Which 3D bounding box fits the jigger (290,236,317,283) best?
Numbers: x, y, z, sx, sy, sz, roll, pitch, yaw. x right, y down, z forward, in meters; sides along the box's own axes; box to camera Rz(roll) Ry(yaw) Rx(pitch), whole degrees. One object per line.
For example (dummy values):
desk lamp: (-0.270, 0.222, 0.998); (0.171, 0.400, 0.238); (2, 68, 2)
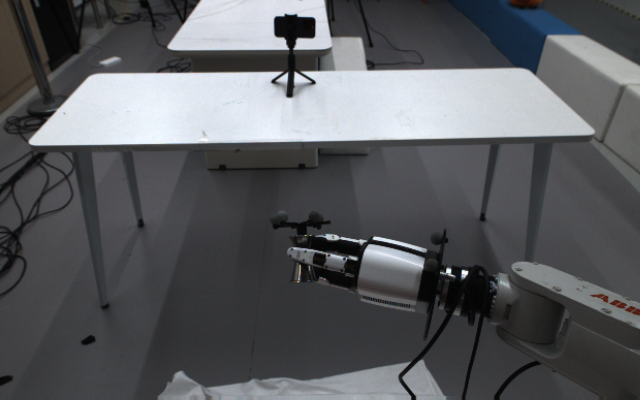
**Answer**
jigger: (-0.026, 0.086, 0.714); (0.043, 0.071, 0.043); (-2, -7, 0)
